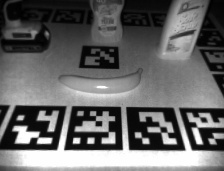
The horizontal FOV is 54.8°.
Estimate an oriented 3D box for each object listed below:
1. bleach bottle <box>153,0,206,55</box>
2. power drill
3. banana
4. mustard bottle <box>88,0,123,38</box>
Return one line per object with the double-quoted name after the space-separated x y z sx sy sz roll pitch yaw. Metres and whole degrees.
0.173 -0.195 0.533 0.102 0.252 0.068 8 46 4 "bleach bottle"
-0.206 -0.221 0.532 0.185 0.188 0.057 -5 47 -3 "power drill"
-0.028 -0.027 0.494 0.198 0.039 0.074 -3 49 -3 "banana"
-0.017 -0.226 0.593 0.096 0.192 0.058 -3 47 -8 "mustard bottle"
